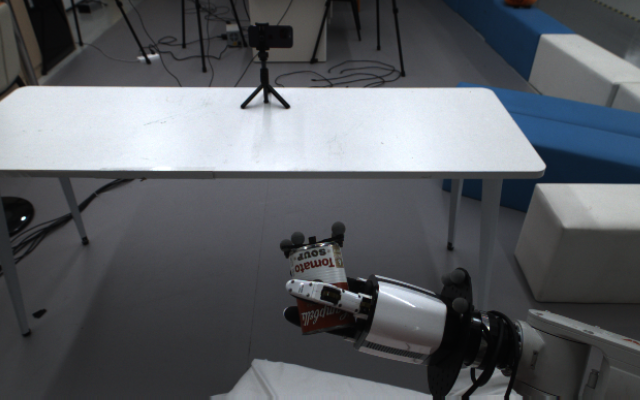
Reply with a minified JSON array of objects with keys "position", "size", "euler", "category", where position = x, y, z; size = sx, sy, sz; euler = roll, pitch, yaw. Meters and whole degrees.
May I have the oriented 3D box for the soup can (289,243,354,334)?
[{"position":[0.004,0.110,0.598],"size":[0.067,0.067,0.101],"euler":[-8,74,-14],"category":"soup can"}]
